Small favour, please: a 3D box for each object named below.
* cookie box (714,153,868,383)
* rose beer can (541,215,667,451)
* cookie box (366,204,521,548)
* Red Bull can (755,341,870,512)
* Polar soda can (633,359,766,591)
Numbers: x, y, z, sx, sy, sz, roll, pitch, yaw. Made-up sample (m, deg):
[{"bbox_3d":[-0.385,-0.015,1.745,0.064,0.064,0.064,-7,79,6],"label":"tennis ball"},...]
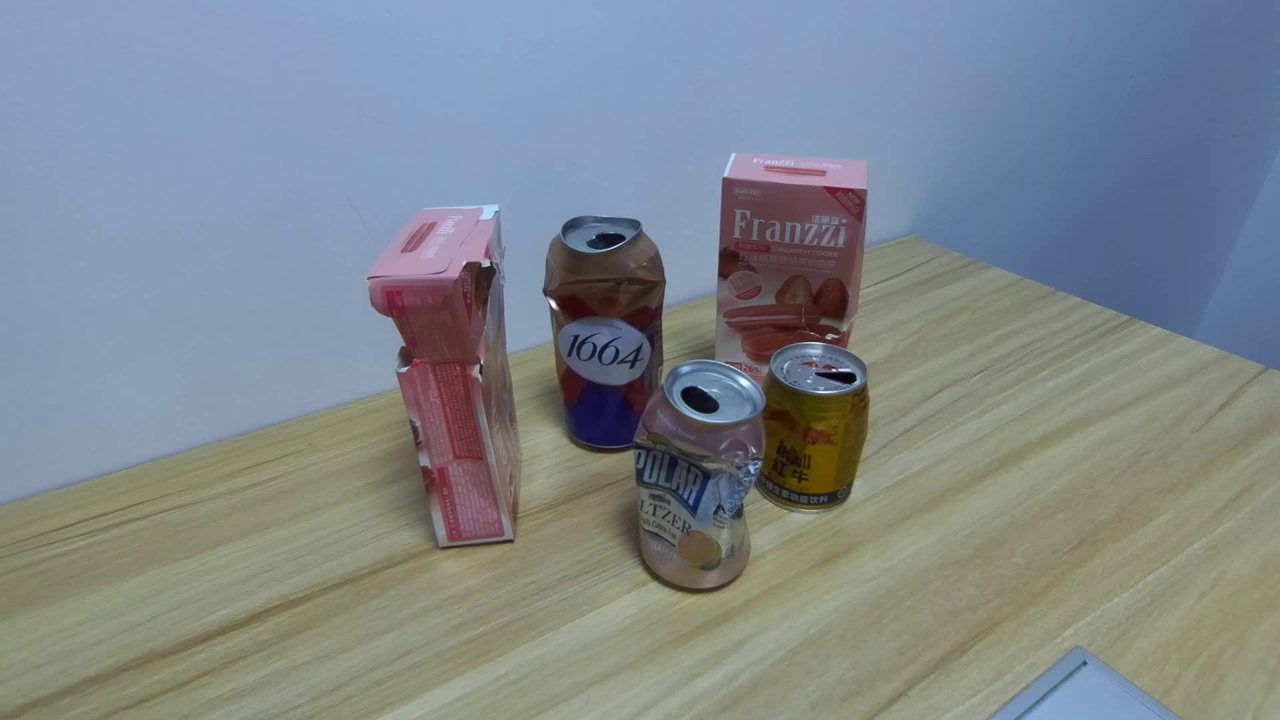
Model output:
[{"bbox_3d":[0.113,-0.053,0.529,0.105,0.188,0.049,7,37,13],"label":"cookie box"},{"bbox_3d":[-0.022,-0.017,0.493,0.074,0.162,0.068,-13,34,-17],"label":"rose beer can"},{"bbox_3d":[-0.102,0.013,0.425,0.059,0.186,0.105,-3,31,-1],"label":"cookie box"},{"bbox_3d":[0.110,0.043,0.455,0.069,0.092,0.069,-1,31,1],"label":"Red Bull can"},{"bbox_3d":[0.038,0.066,0.395,0.067,0.122,0.070,-21,37,-38],"label":"Polar soda can"}]
